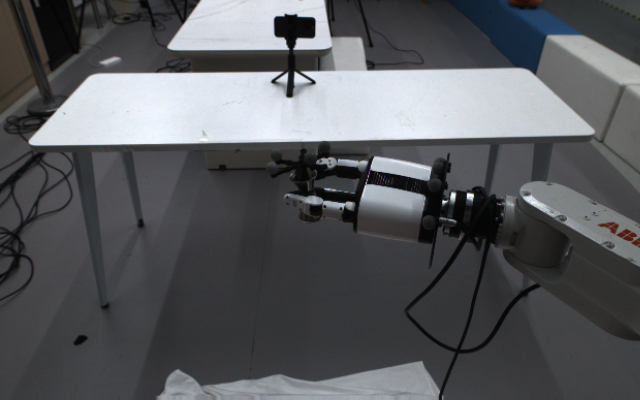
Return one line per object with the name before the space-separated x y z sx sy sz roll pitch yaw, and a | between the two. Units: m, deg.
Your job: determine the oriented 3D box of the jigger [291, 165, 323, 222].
jigger | -0.016 -0.007 0.696 0.043 0.071 0.043 -10 32 6
